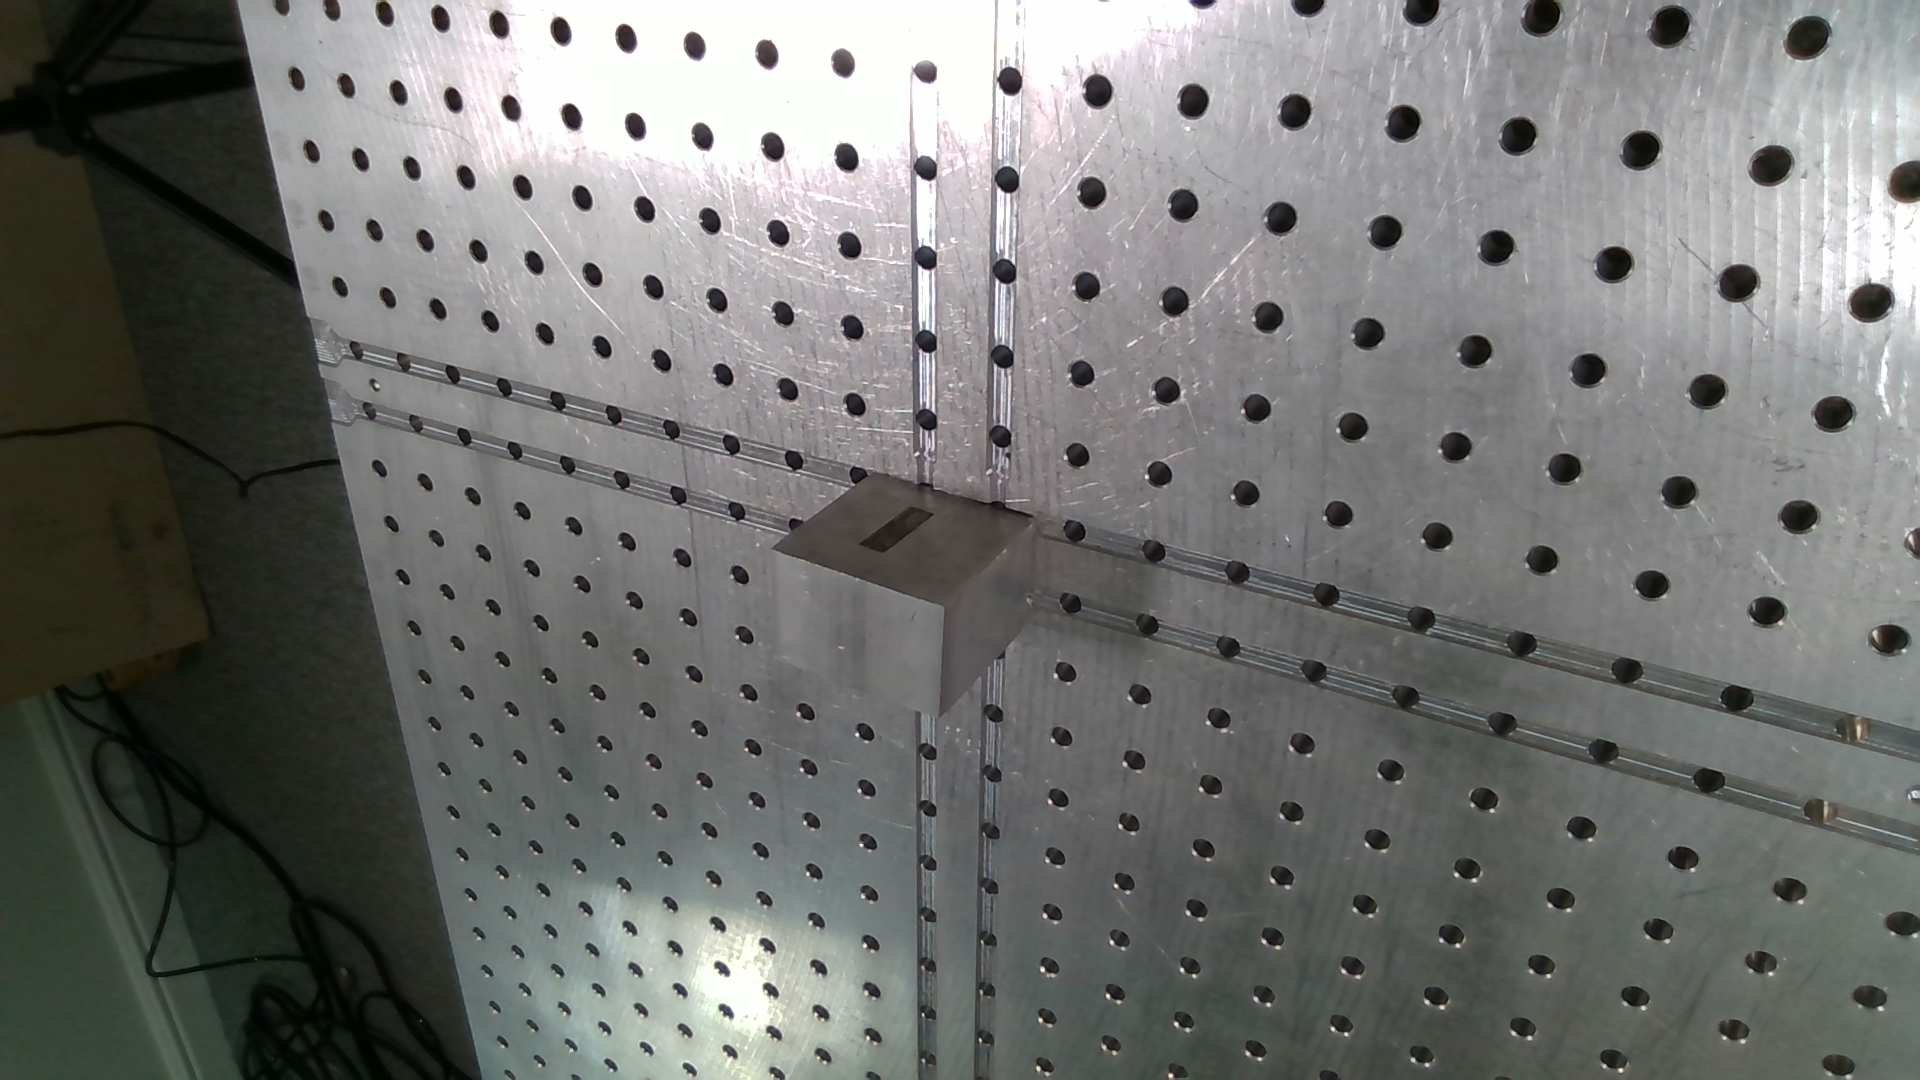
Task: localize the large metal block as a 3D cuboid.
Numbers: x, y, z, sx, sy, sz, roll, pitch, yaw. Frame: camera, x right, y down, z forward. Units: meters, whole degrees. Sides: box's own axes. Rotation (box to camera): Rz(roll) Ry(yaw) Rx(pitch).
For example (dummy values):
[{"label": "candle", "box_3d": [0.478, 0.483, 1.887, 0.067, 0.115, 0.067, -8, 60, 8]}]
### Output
[{"label": "large metal block", "box_3d": [-0.024, 0.020, 0.572, 0.080, 0.080, 0.050, 17, 123, 23]}]
